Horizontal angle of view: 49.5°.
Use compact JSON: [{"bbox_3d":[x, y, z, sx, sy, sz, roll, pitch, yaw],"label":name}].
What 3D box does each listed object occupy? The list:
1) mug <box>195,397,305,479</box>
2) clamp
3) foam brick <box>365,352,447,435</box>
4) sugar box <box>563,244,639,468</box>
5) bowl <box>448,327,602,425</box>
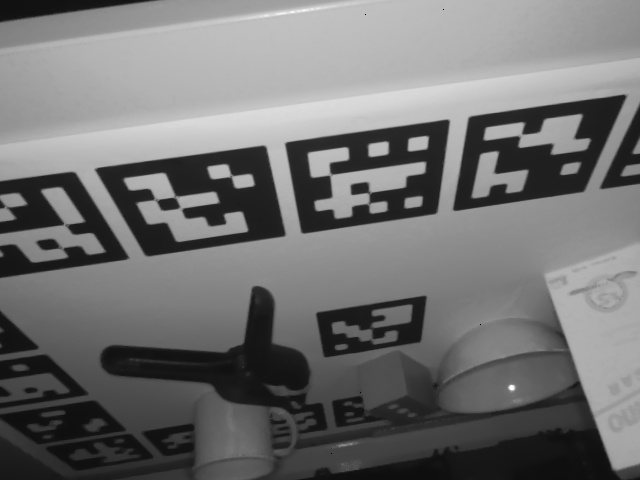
[{"bbox_3d":[-0.072,0.220,0.735,0.118,0.082,0.092,12,137,-19],"label":"mug"},{"bbox_3d":[-0.052,0.122,0.649,0.164,0.037,0.203,-25,137,15],"label":"clamp"},{"bbox_3d":[0.092,0.163,0.736,0.052,0.051,0.078,-27,137,19],"label":"foam brick"},{"bbox_3d":[0.275,0.090,0.577,0.092,0.177,0.045,-23,137,19],"label":"sugar box"},{"bbox_3d":[0.206,0.136,0.715,0.162,0.055,0.160,-5,141,-4],"label":"bowl"}]
